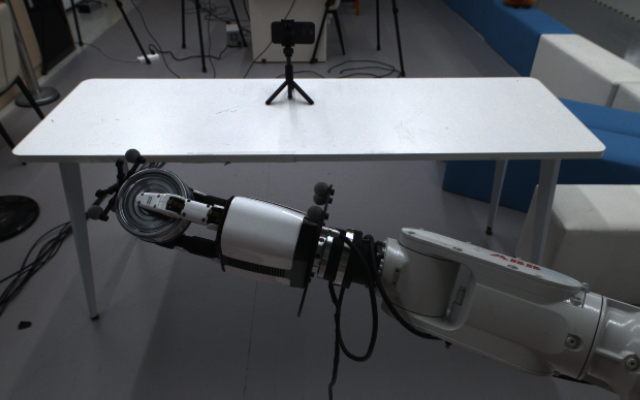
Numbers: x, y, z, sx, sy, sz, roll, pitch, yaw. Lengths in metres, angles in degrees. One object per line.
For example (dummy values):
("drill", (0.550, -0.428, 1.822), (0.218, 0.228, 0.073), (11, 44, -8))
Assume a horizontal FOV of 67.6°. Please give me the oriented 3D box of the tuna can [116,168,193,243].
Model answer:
("tuna can", (-0.192, 0.006, 0.573), (0.085, 0.034, 0.085), (0, 75, -1))
